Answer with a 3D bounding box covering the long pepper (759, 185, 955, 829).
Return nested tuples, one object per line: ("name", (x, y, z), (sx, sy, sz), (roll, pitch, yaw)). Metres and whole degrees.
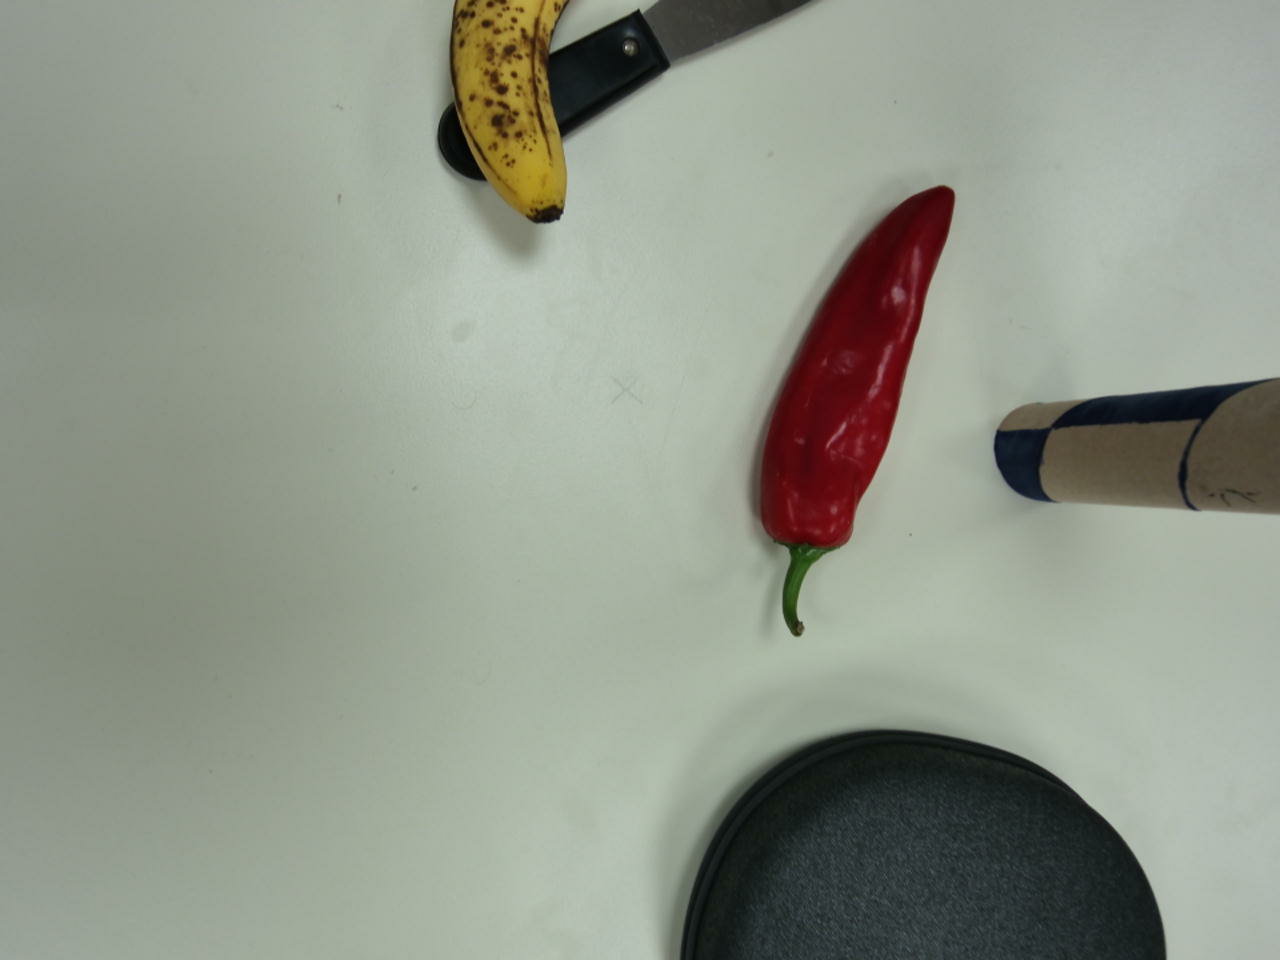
("long pepper", (0.091, -0.036, 0.438), (0.050, 0.043, 0.211), (22, 86, -11))
